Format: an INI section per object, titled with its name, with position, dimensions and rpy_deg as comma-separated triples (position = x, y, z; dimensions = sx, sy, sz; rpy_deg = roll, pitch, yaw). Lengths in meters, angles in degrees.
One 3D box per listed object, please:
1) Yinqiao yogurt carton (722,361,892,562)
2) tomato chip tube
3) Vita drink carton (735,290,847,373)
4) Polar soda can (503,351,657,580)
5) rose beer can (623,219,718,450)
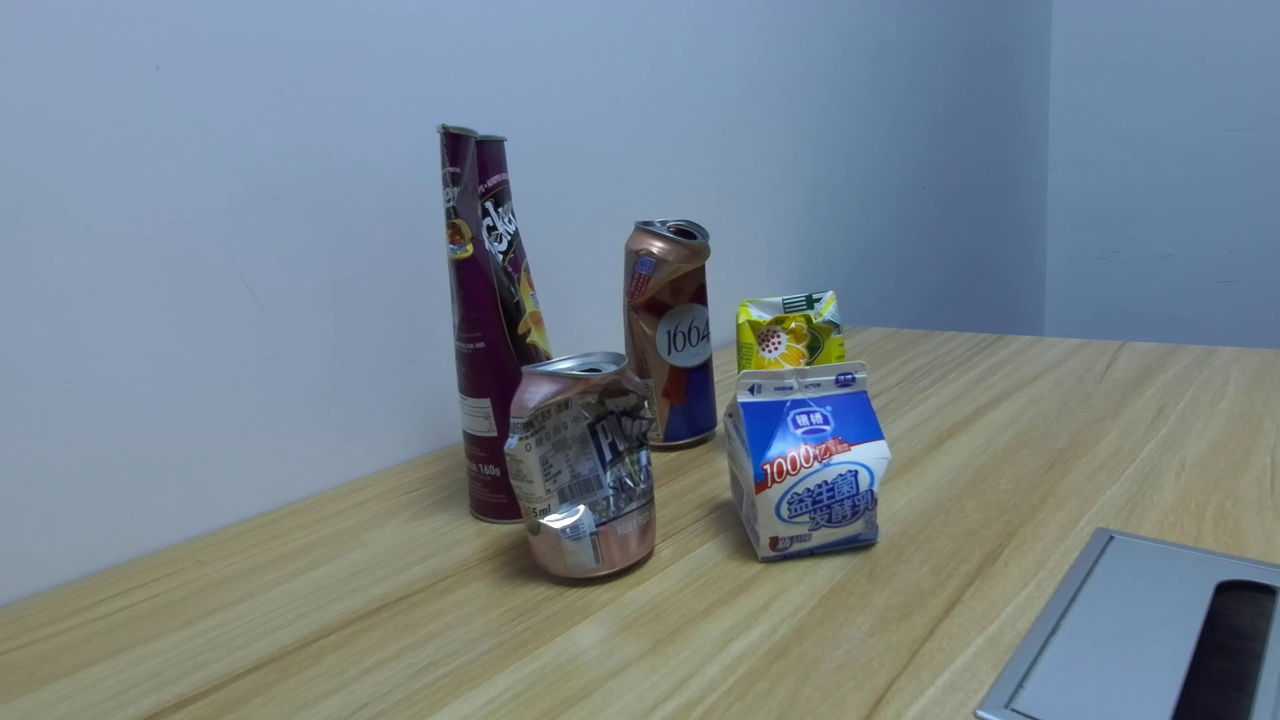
[Yinqiao yogurt carton]
position = 0.087, 0.046, 0.366
dimensions = 0.074, 0.097, 0.080
rpy_deg = -8, 21, -4
[tomato chip tube]
position = -0.086, -0.021, 0.439
dimensions = 0.077, 0.235, 0.090
rpy_deg = 7, 16, 44
[Vita drink carton]
position = 0.101, 0.013, 0.469
dimensions = 0.071, 0.109, 0.046
rpy_deg = -3, 10, 14
[Polar soda can]
position = -0.027, 0.053, 0.367
dimensions = 0.070, 0.114, 0.074
rpy_deg = -1, 16, 4
[rose beer can]
position = 0.022, -0.019, 0.526
dimensions = 0.070, 0.168, 0.069
rpy_deg = -4, 18, -6
